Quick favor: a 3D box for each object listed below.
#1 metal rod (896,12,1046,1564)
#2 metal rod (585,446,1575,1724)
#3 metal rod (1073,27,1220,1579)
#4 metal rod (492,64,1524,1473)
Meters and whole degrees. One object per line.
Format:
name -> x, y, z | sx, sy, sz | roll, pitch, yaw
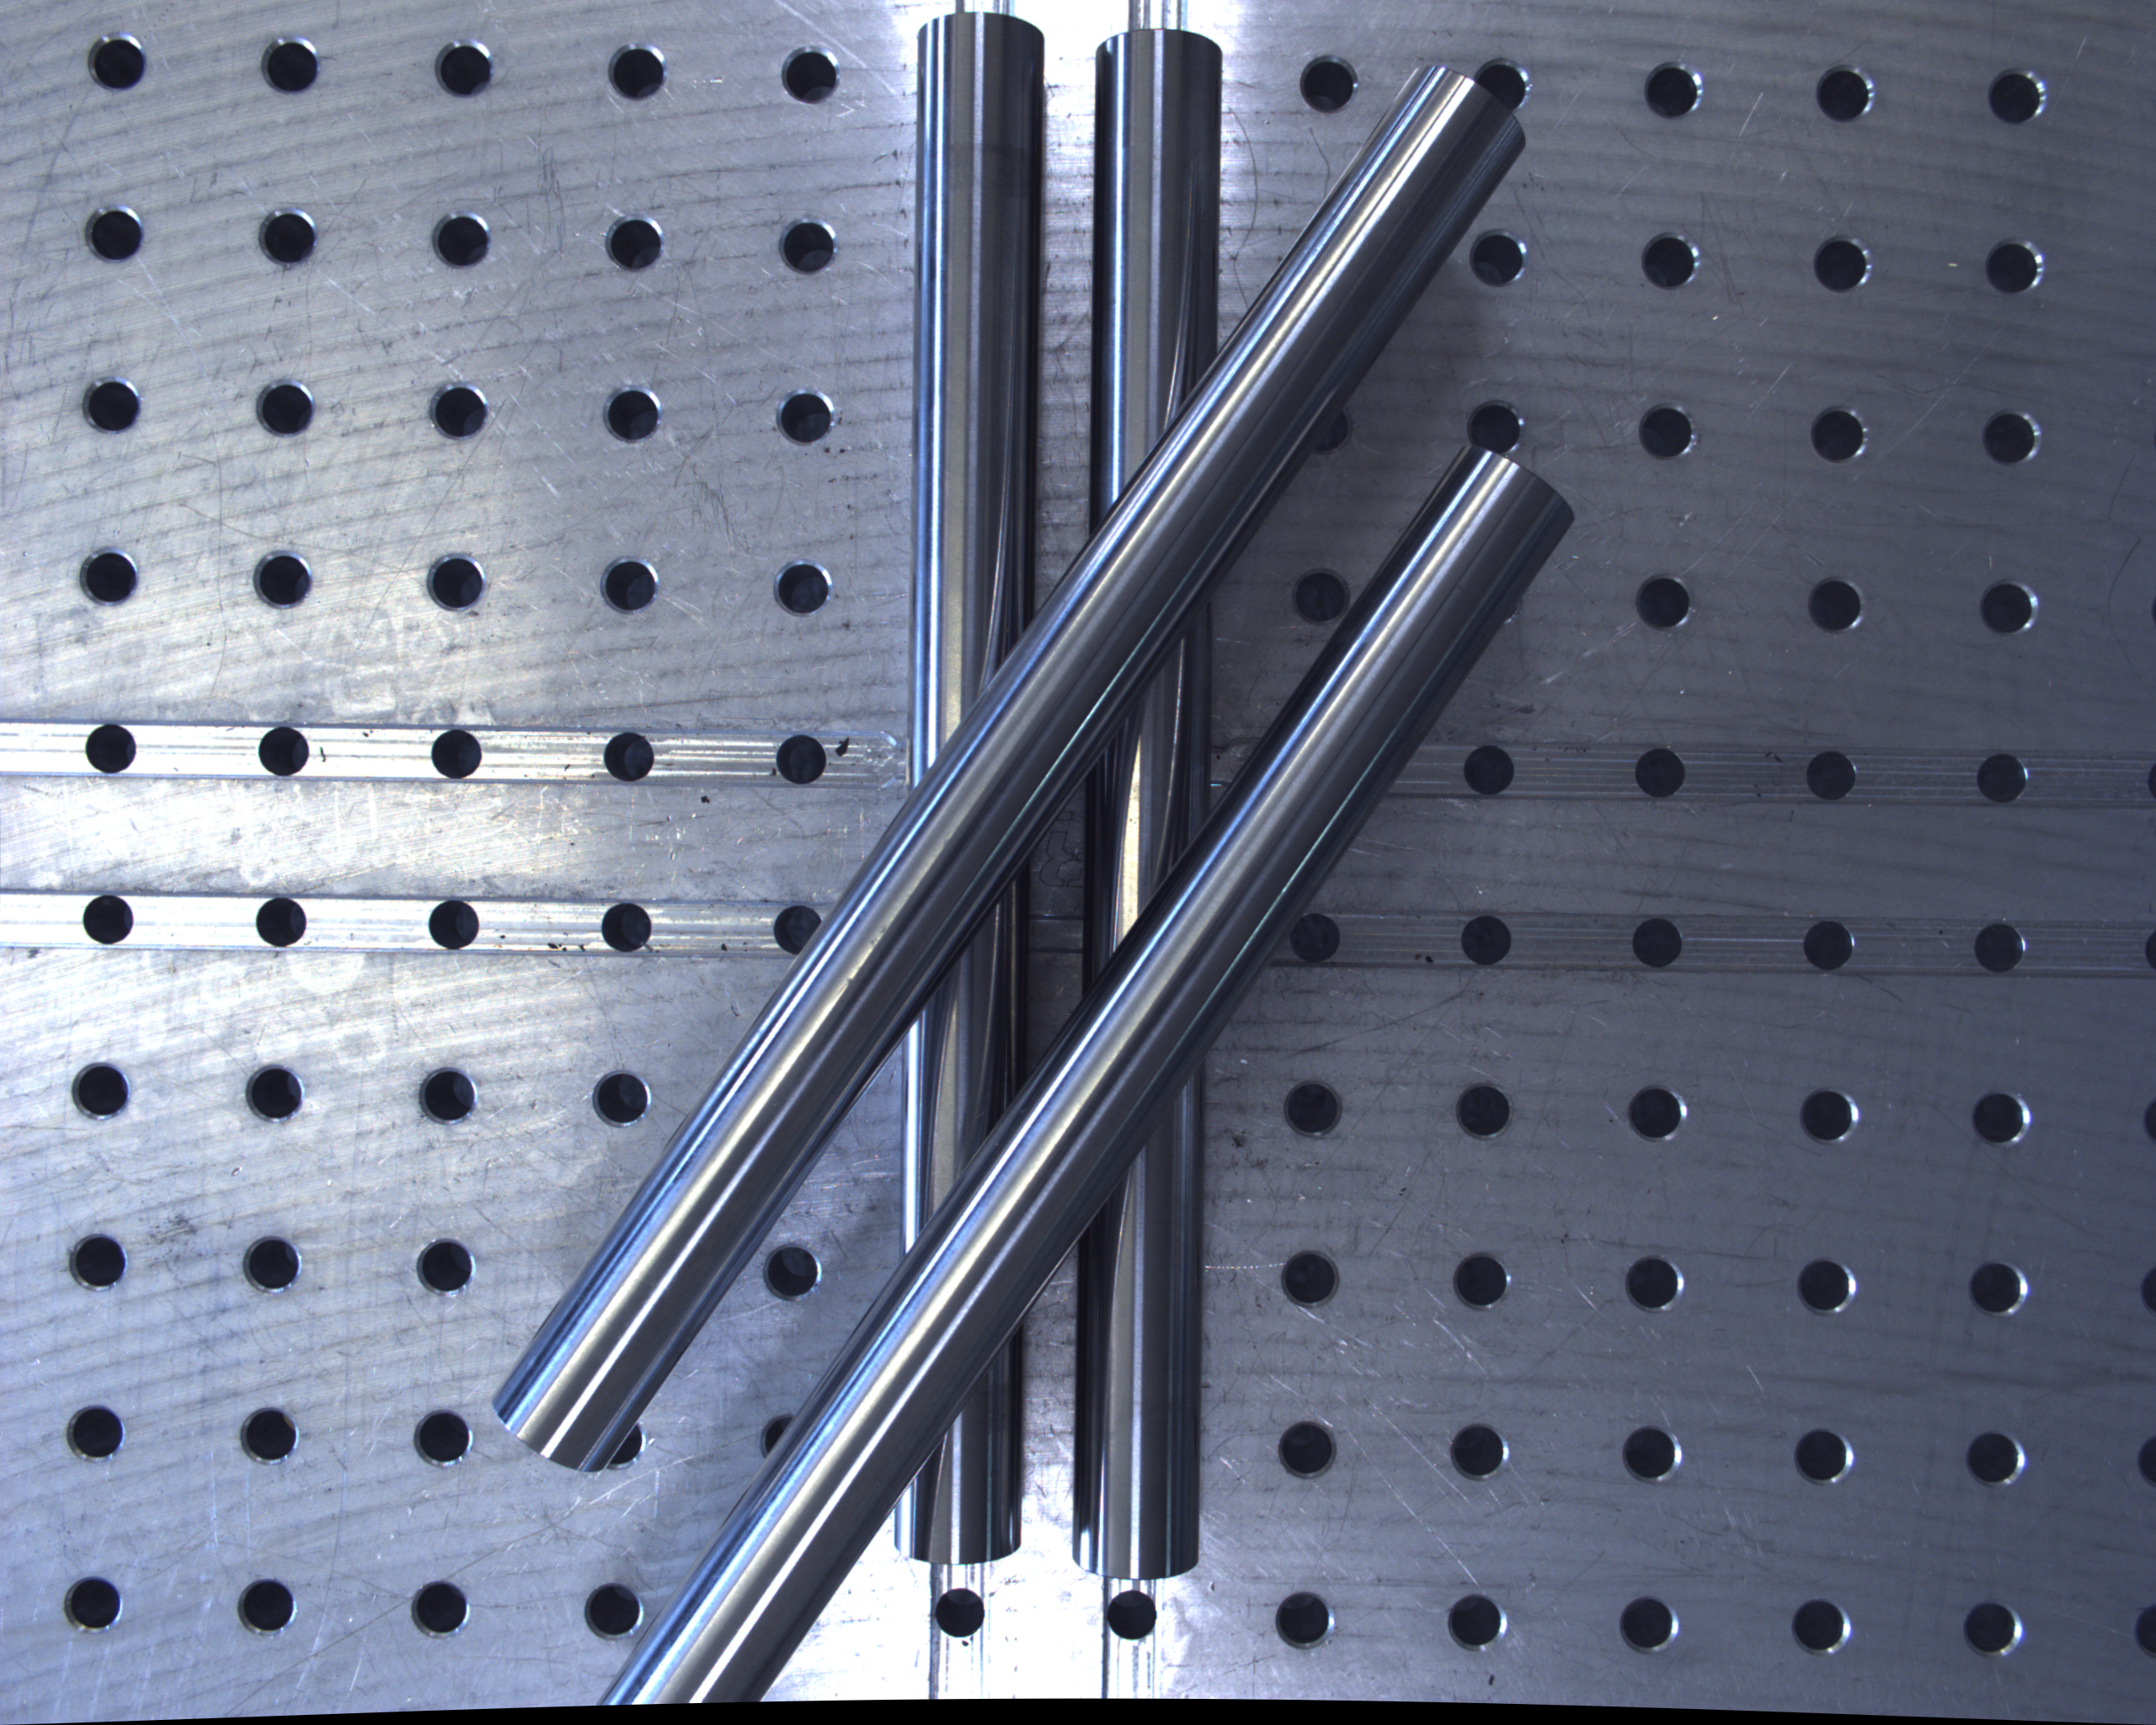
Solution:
metal rod -> -0.021, -0.014, 0.414 | 0.025, 0.025, 0.298 | 1, 90, 0
metal rod -> -0.003, 0.053, 0.388 | 0.025, 0.025, 0.299 | 35, 90, 0
metal rod -> 0.014, -0.011, 0.414 | 0.025, 0.025, 0.298 | 1, 90, 0
metal rod -> -0.013, -0.017, 0.389 | 0.025, 0.025, 0.299 | 35, 90, 0
